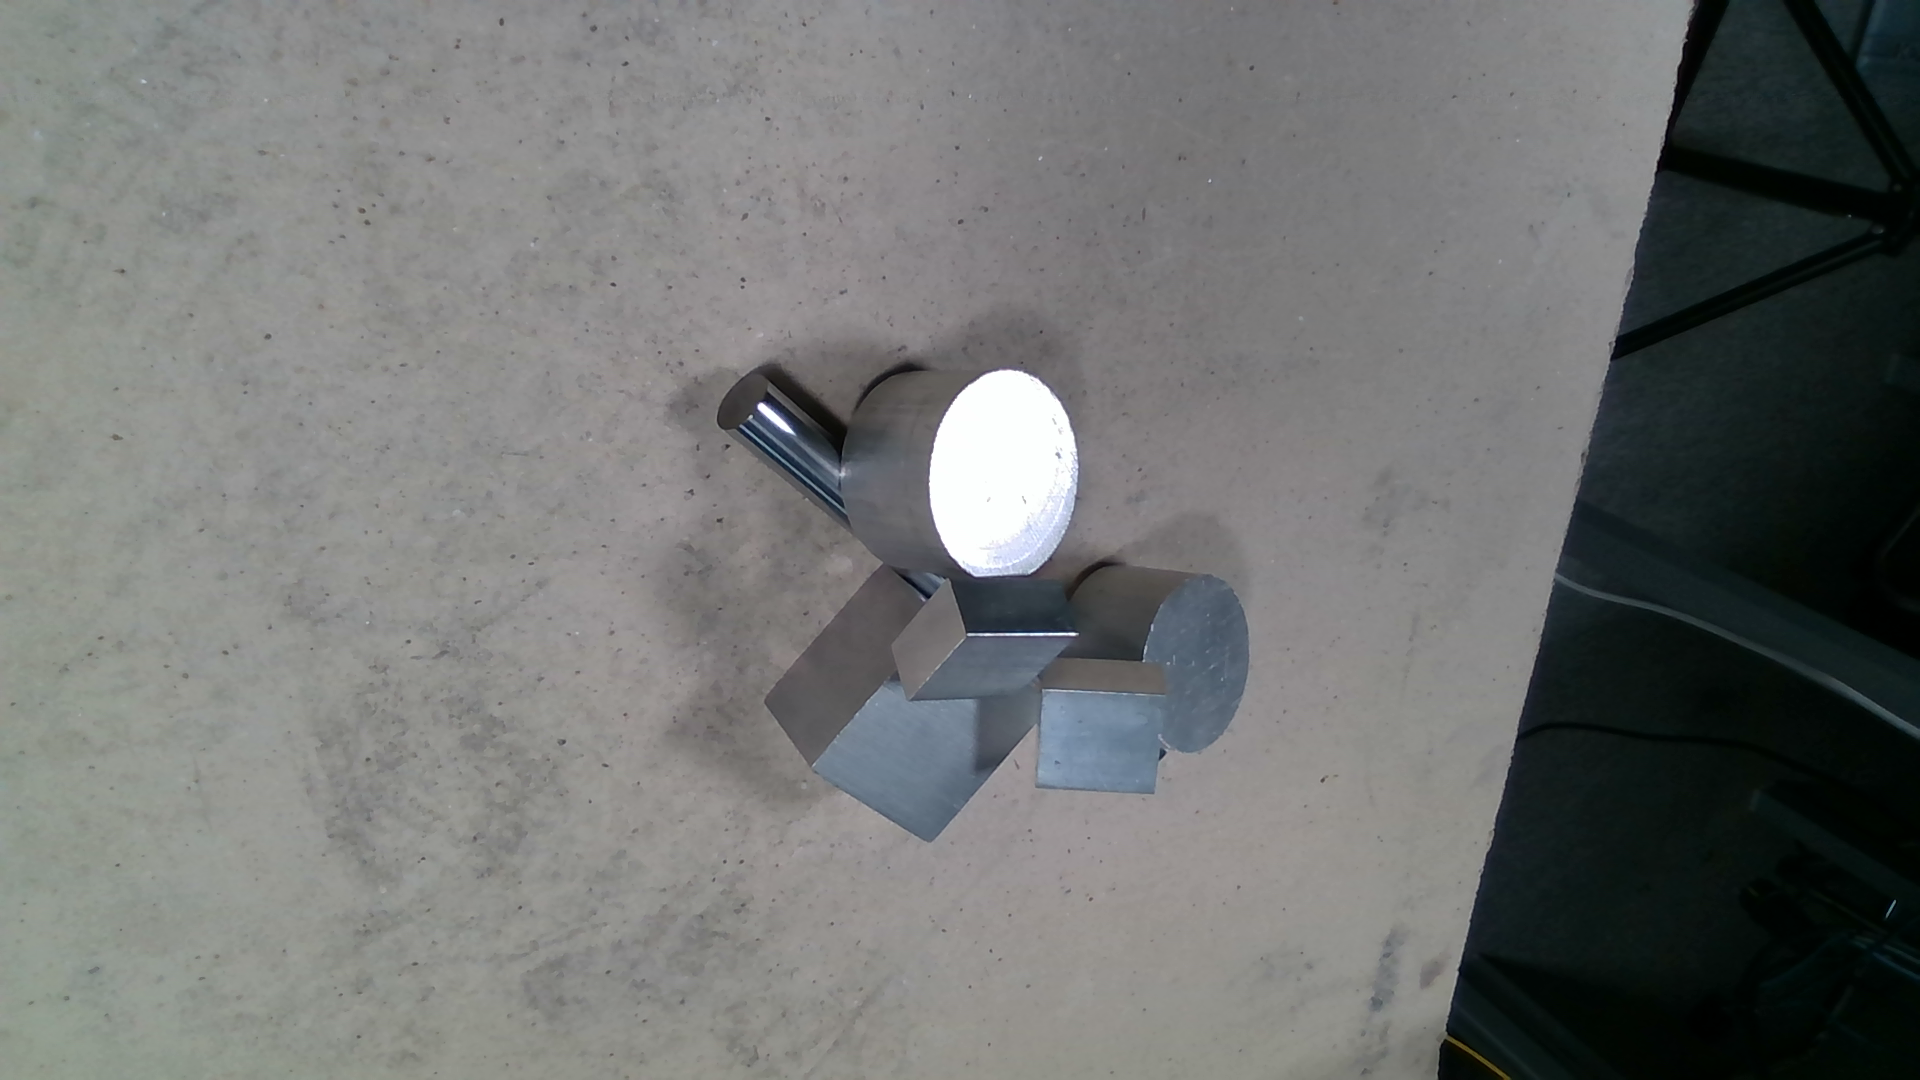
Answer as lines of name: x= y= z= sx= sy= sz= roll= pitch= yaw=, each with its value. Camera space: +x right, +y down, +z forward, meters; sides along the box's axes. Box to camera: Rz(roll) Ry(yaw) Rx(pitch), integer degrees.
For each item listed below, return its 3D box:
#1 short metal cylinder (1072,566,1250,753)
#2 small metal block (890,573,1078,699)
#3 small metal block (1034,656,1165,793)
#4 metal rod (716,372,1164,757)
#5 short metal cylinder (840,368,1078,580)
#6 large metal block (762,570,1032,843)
short metal cylinder: x=0.089 y=0.053 z=0.629 sx=0.080 sy=0.050 sz=0.080 roll=-6 pitch=98 yaw=-44
small metal block: x=0.008 y=0.037 z=0.526 sx=0.050 sy=0.025 sz=0.050 roll=2 pitch=146 yaw=-32
small metal block: x=0.057 y=0.077 z=0.577 sx=0.050 sy=0.025 sz=0.050 roll=3 pitch=117 yaw=1
metal rod: x=0.007 y=0.025 z=0.599 sx=0.025 sy=0.025 sz=0.301 roll=-49 pitch=129 yaw=0
short metal cylinder: x=0.001 y=-0.026 z=0.533 sx=0.080 sy=0.050 sz=0.080 roll=-6 pitch=98 yaw=-44
large metal block: x=-0.022 y=0.070 z=0.587 sx=0.080 sy=0.050 sz=0.080 roll=-49 pitch=129 yaw=0
